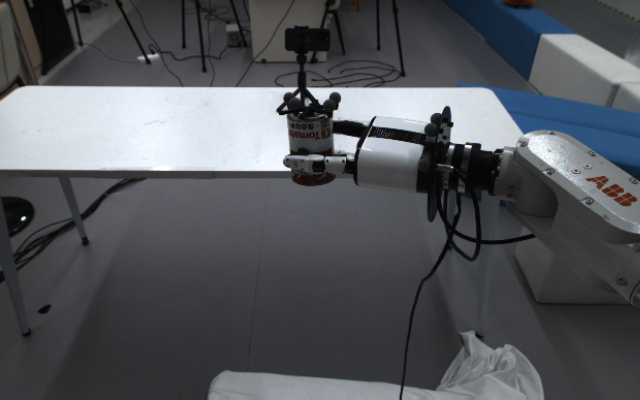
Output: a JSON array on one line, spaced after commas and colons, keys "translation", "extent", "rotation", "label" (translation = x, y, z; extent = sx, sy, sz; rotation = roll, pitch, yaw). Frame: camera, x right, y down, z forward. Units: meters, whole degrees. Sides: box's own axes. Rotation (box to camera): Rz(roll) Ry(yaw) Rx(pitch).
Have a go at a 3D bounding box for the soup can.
[{"translation": [-0.011, -0.081, 0.716], "extent": [0.067, 0.101, 0.067], "rotation": [-3, 27, 2], "label": "soup can"}]
